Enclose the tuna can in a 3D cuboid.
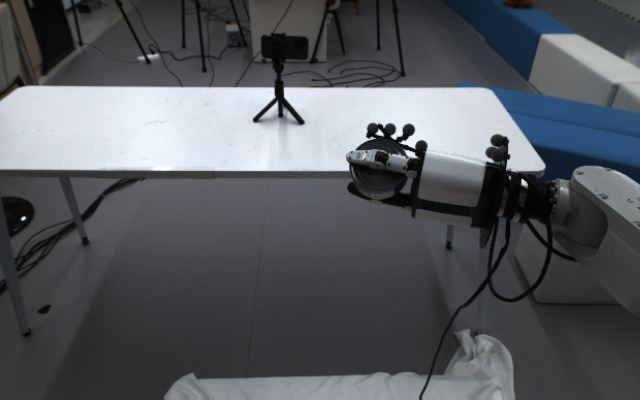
[{"bbox_3d":[0.088,-0.048,0.712,0.085,0.034,0.085,-4,66,10],"label":"tuna can"}]
